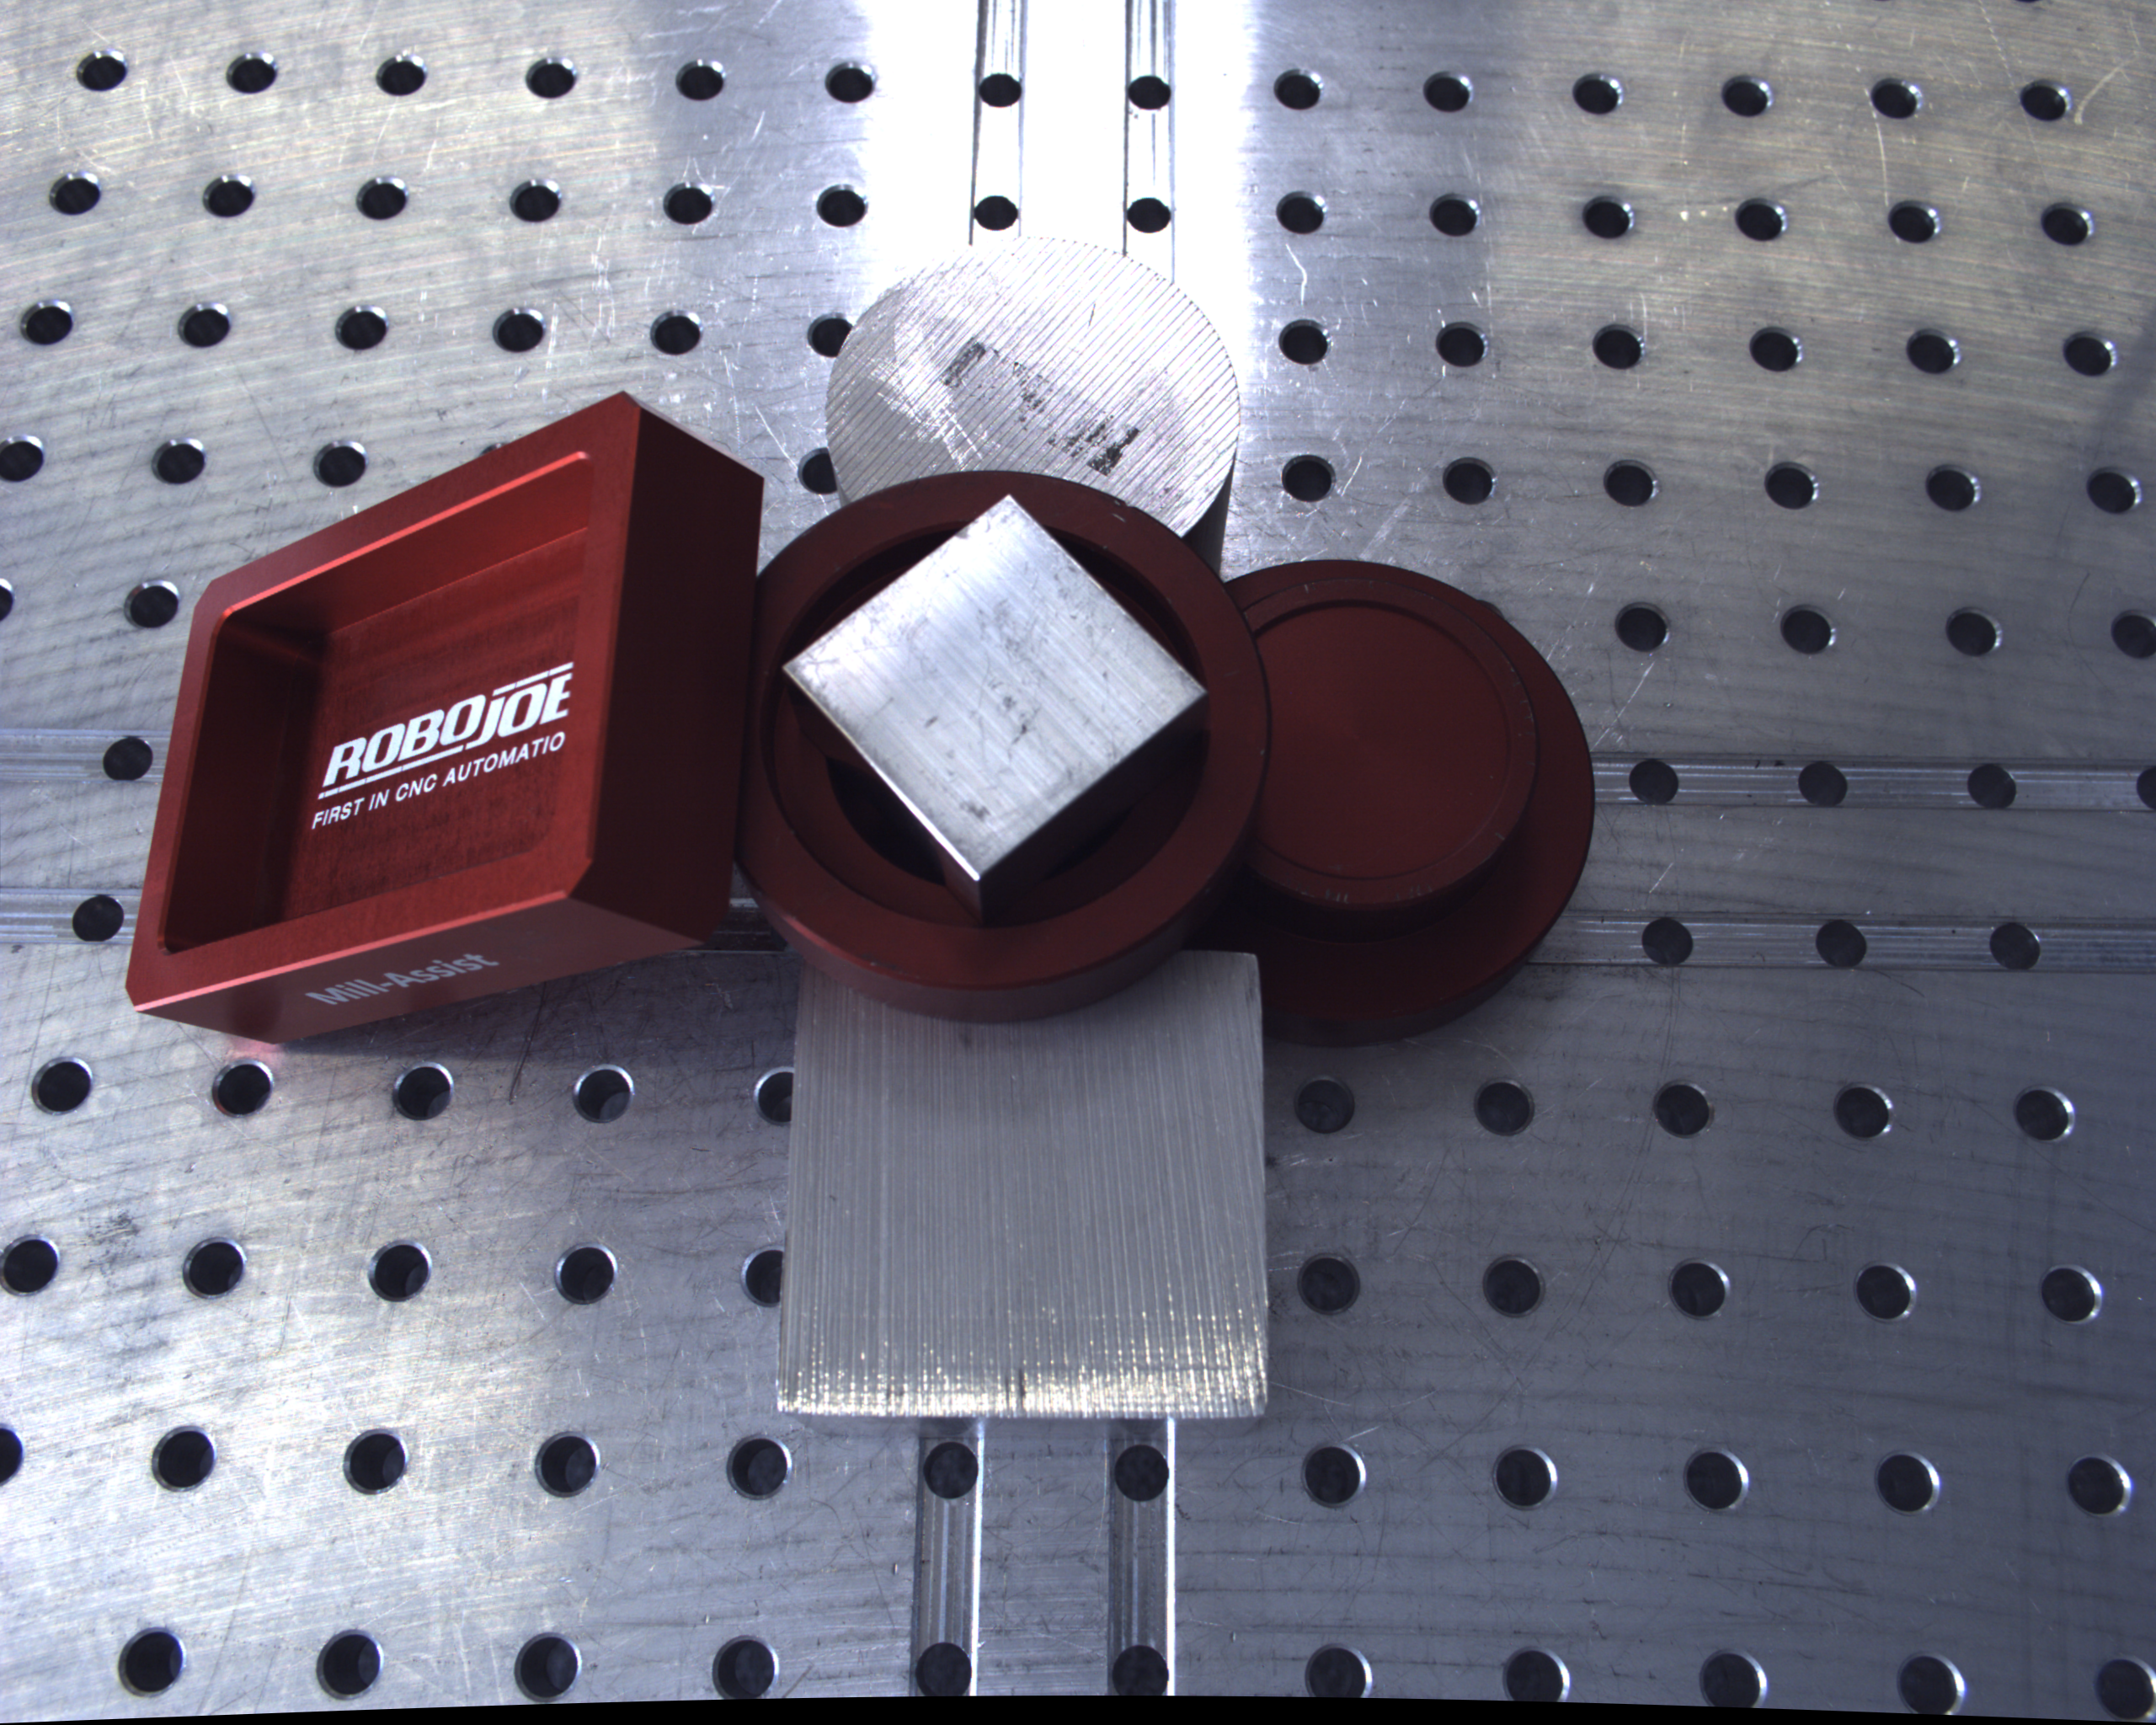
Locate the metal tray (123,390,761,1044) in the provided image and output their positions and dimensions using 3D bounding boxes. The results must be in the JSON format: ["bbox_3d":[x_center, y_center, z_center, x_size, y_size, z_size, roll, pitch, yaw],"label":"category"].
[{"bbox_3d":[-0.117,-0.022,0.378,0.130,0.030,0.090,-13,66,34],"label":"metal tray"}]

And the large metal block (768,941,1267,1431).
[{"bbox_3d":[-0.009,0.059,0.374,0.080,0.050,0.080,1,70,0],"label":"large metal block"}]

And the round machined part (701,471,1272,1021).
[{"bbox_3d":[-0.016,-0.018,0.378,0.099,0.042,0.098,0,70,0],"label":"round machined part"}]

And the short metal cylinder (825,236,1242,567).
[{"bbox_3d":[-0.009,-0.079,0.427,0.081,0.050,0.080,0,70,0],"label":"short metal cylinder"}]

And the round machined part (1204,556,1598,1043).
[{"bbox_3d":[0.052,-0.017,0.408,0.099,0.042,0.098,0,70,0],"label":"round machined part"}]

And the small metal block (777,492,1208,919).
[{"bbox_3d":[-0.014,-0.026,0.355,0.050,0.025,0.050,-40,75,-13],"label":"small metal block"}]
